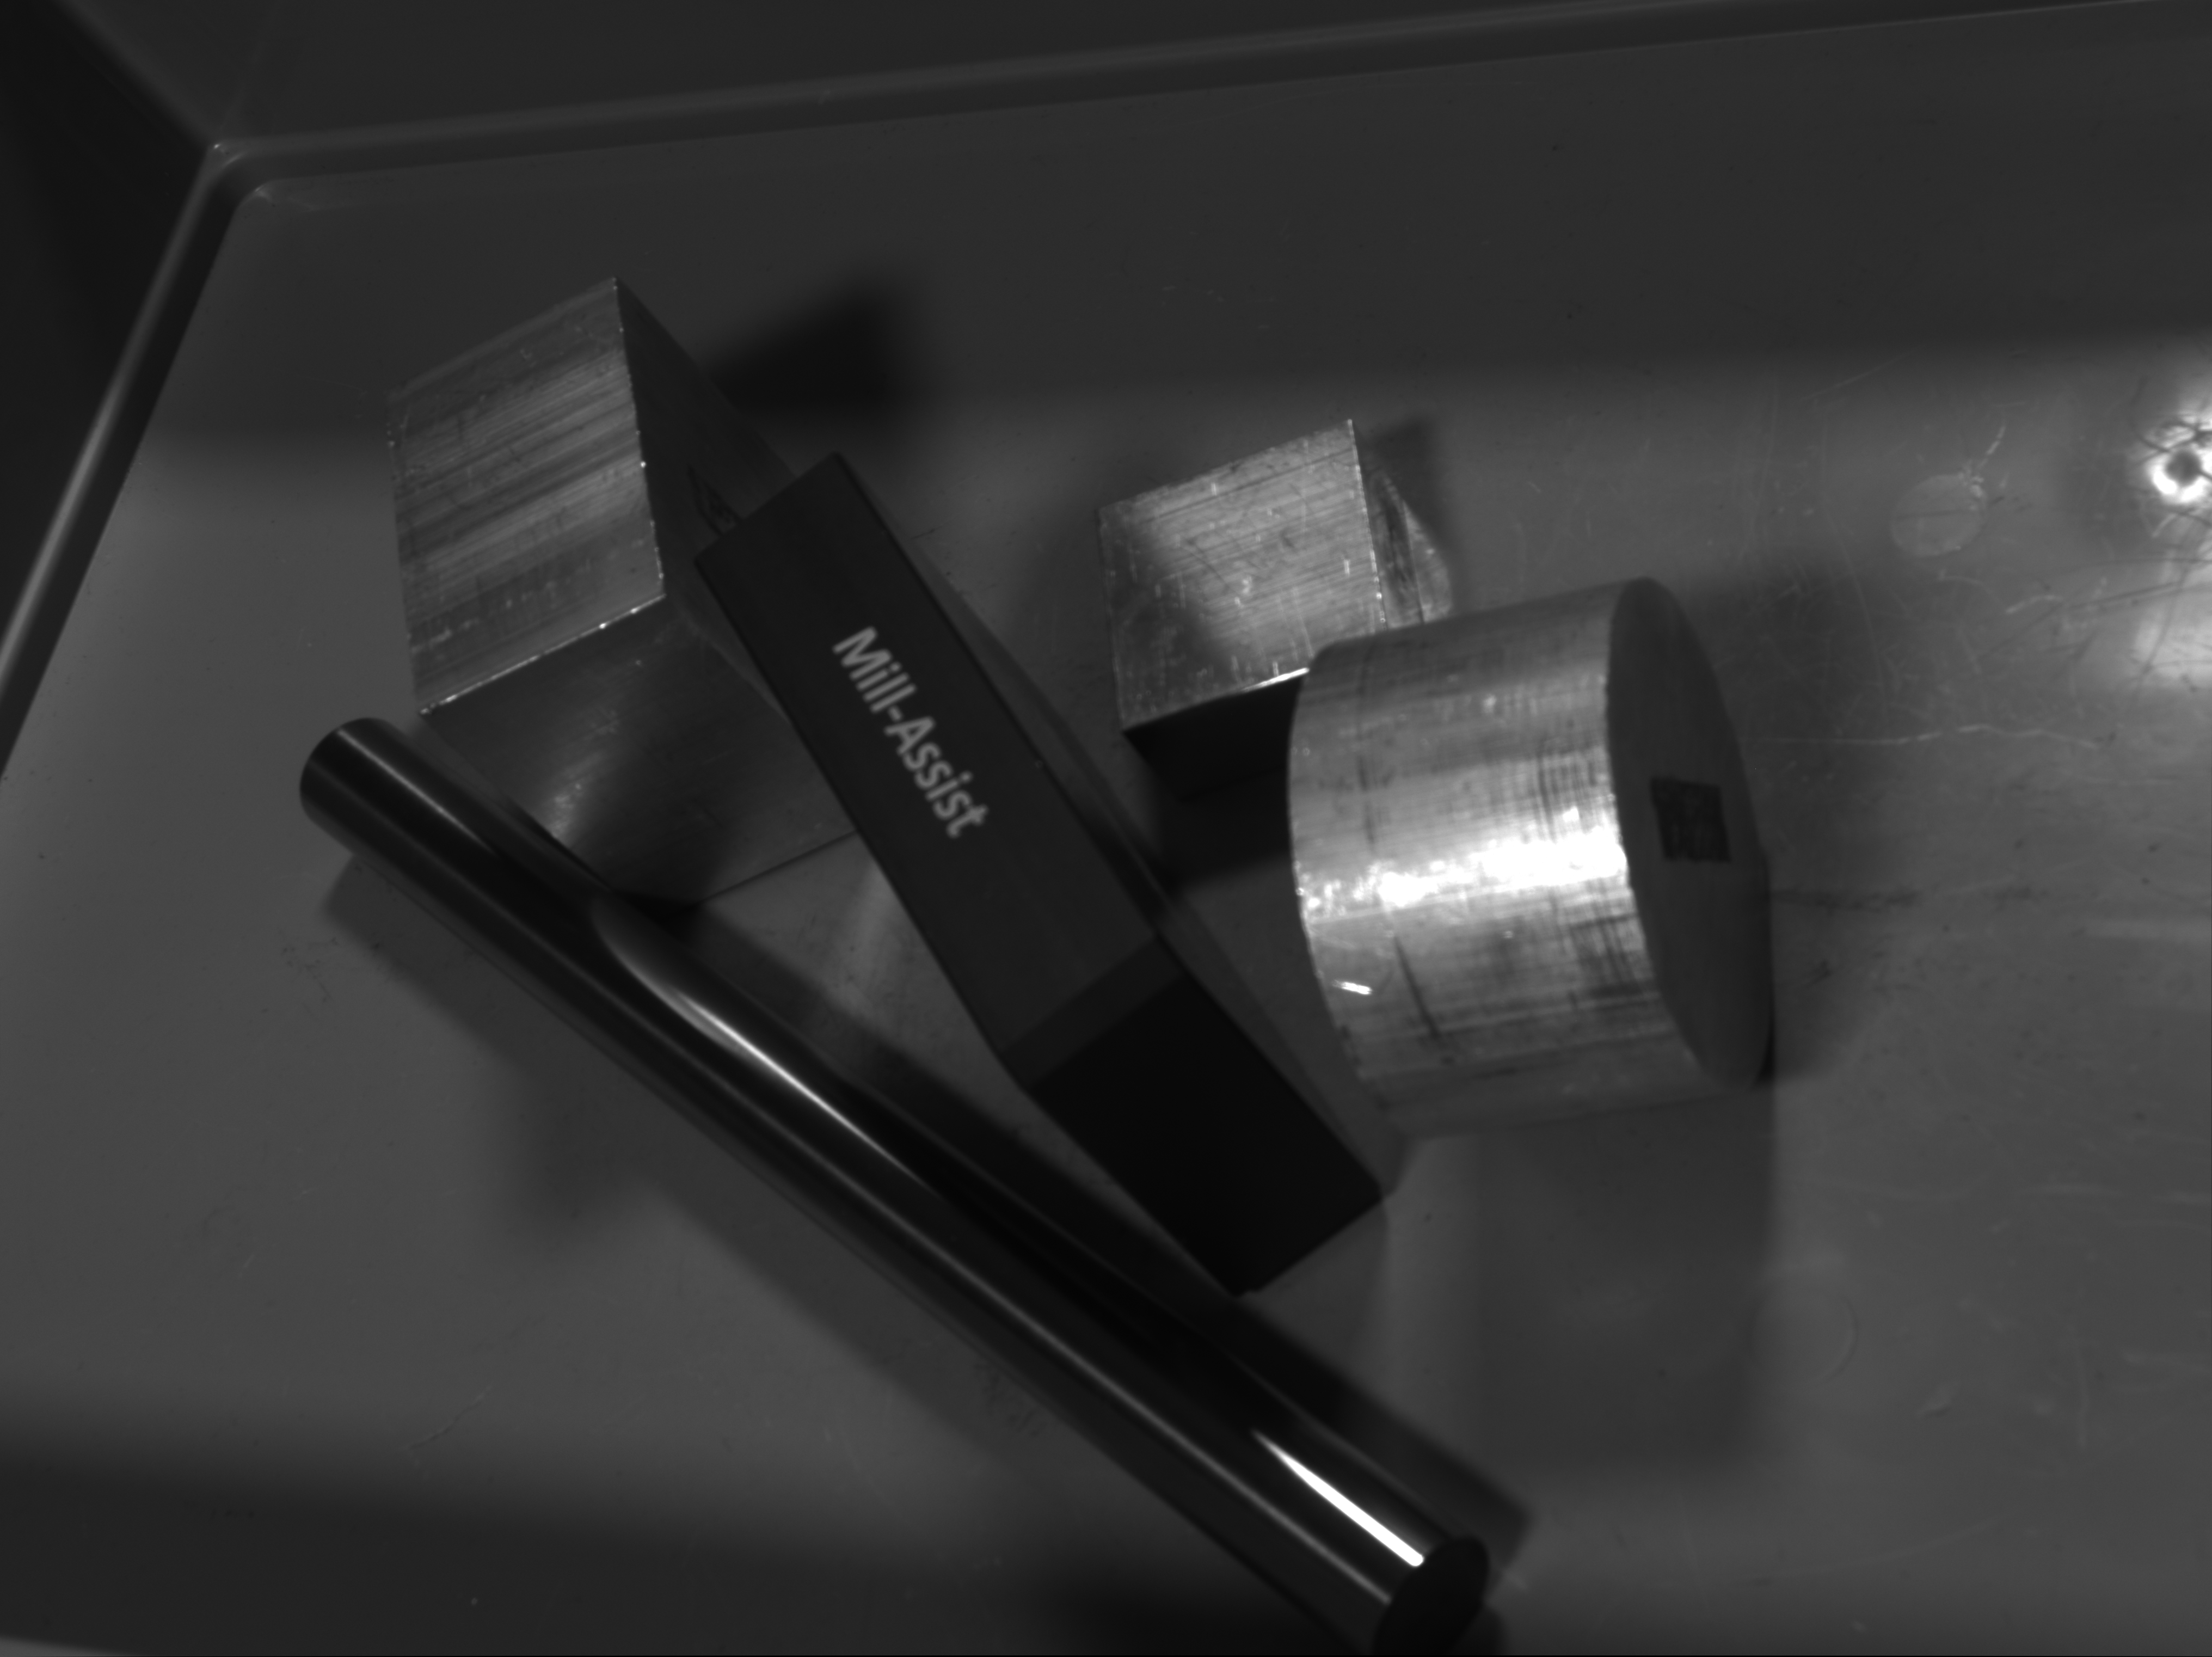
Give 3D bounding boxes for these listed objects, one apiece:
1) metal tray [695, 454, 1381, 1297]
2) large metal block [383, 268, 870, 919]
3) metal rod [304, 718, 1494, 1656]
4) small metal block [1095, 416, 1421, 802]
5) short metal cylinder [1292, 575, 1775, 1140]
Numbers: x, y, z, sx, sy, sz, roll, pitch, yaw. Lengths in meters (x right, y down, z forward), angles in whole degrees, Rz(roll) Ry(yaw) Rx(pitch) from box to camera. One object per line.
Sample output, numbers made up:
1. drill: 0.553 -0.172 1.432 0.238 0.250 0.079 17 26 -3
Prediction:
1. metal tray: -0.012 0.007 0.602 0.030 0.090 0.130 -37 51 3
2. large metal block: -0.087 -0.042 0.680 0.050 0.080 0.080 -24 53 14
3. metal rod: -0.050 0.053 0.638 0.299 0.025 0.025 33 80 38
4. small metal block: 0.028 -0.039 0.651 0.050 0.025 0.050 -18 54 18
5. short metal cylinder: 0.068 0.005 0.567 0.050 0.080 0.080 -12 57 23
